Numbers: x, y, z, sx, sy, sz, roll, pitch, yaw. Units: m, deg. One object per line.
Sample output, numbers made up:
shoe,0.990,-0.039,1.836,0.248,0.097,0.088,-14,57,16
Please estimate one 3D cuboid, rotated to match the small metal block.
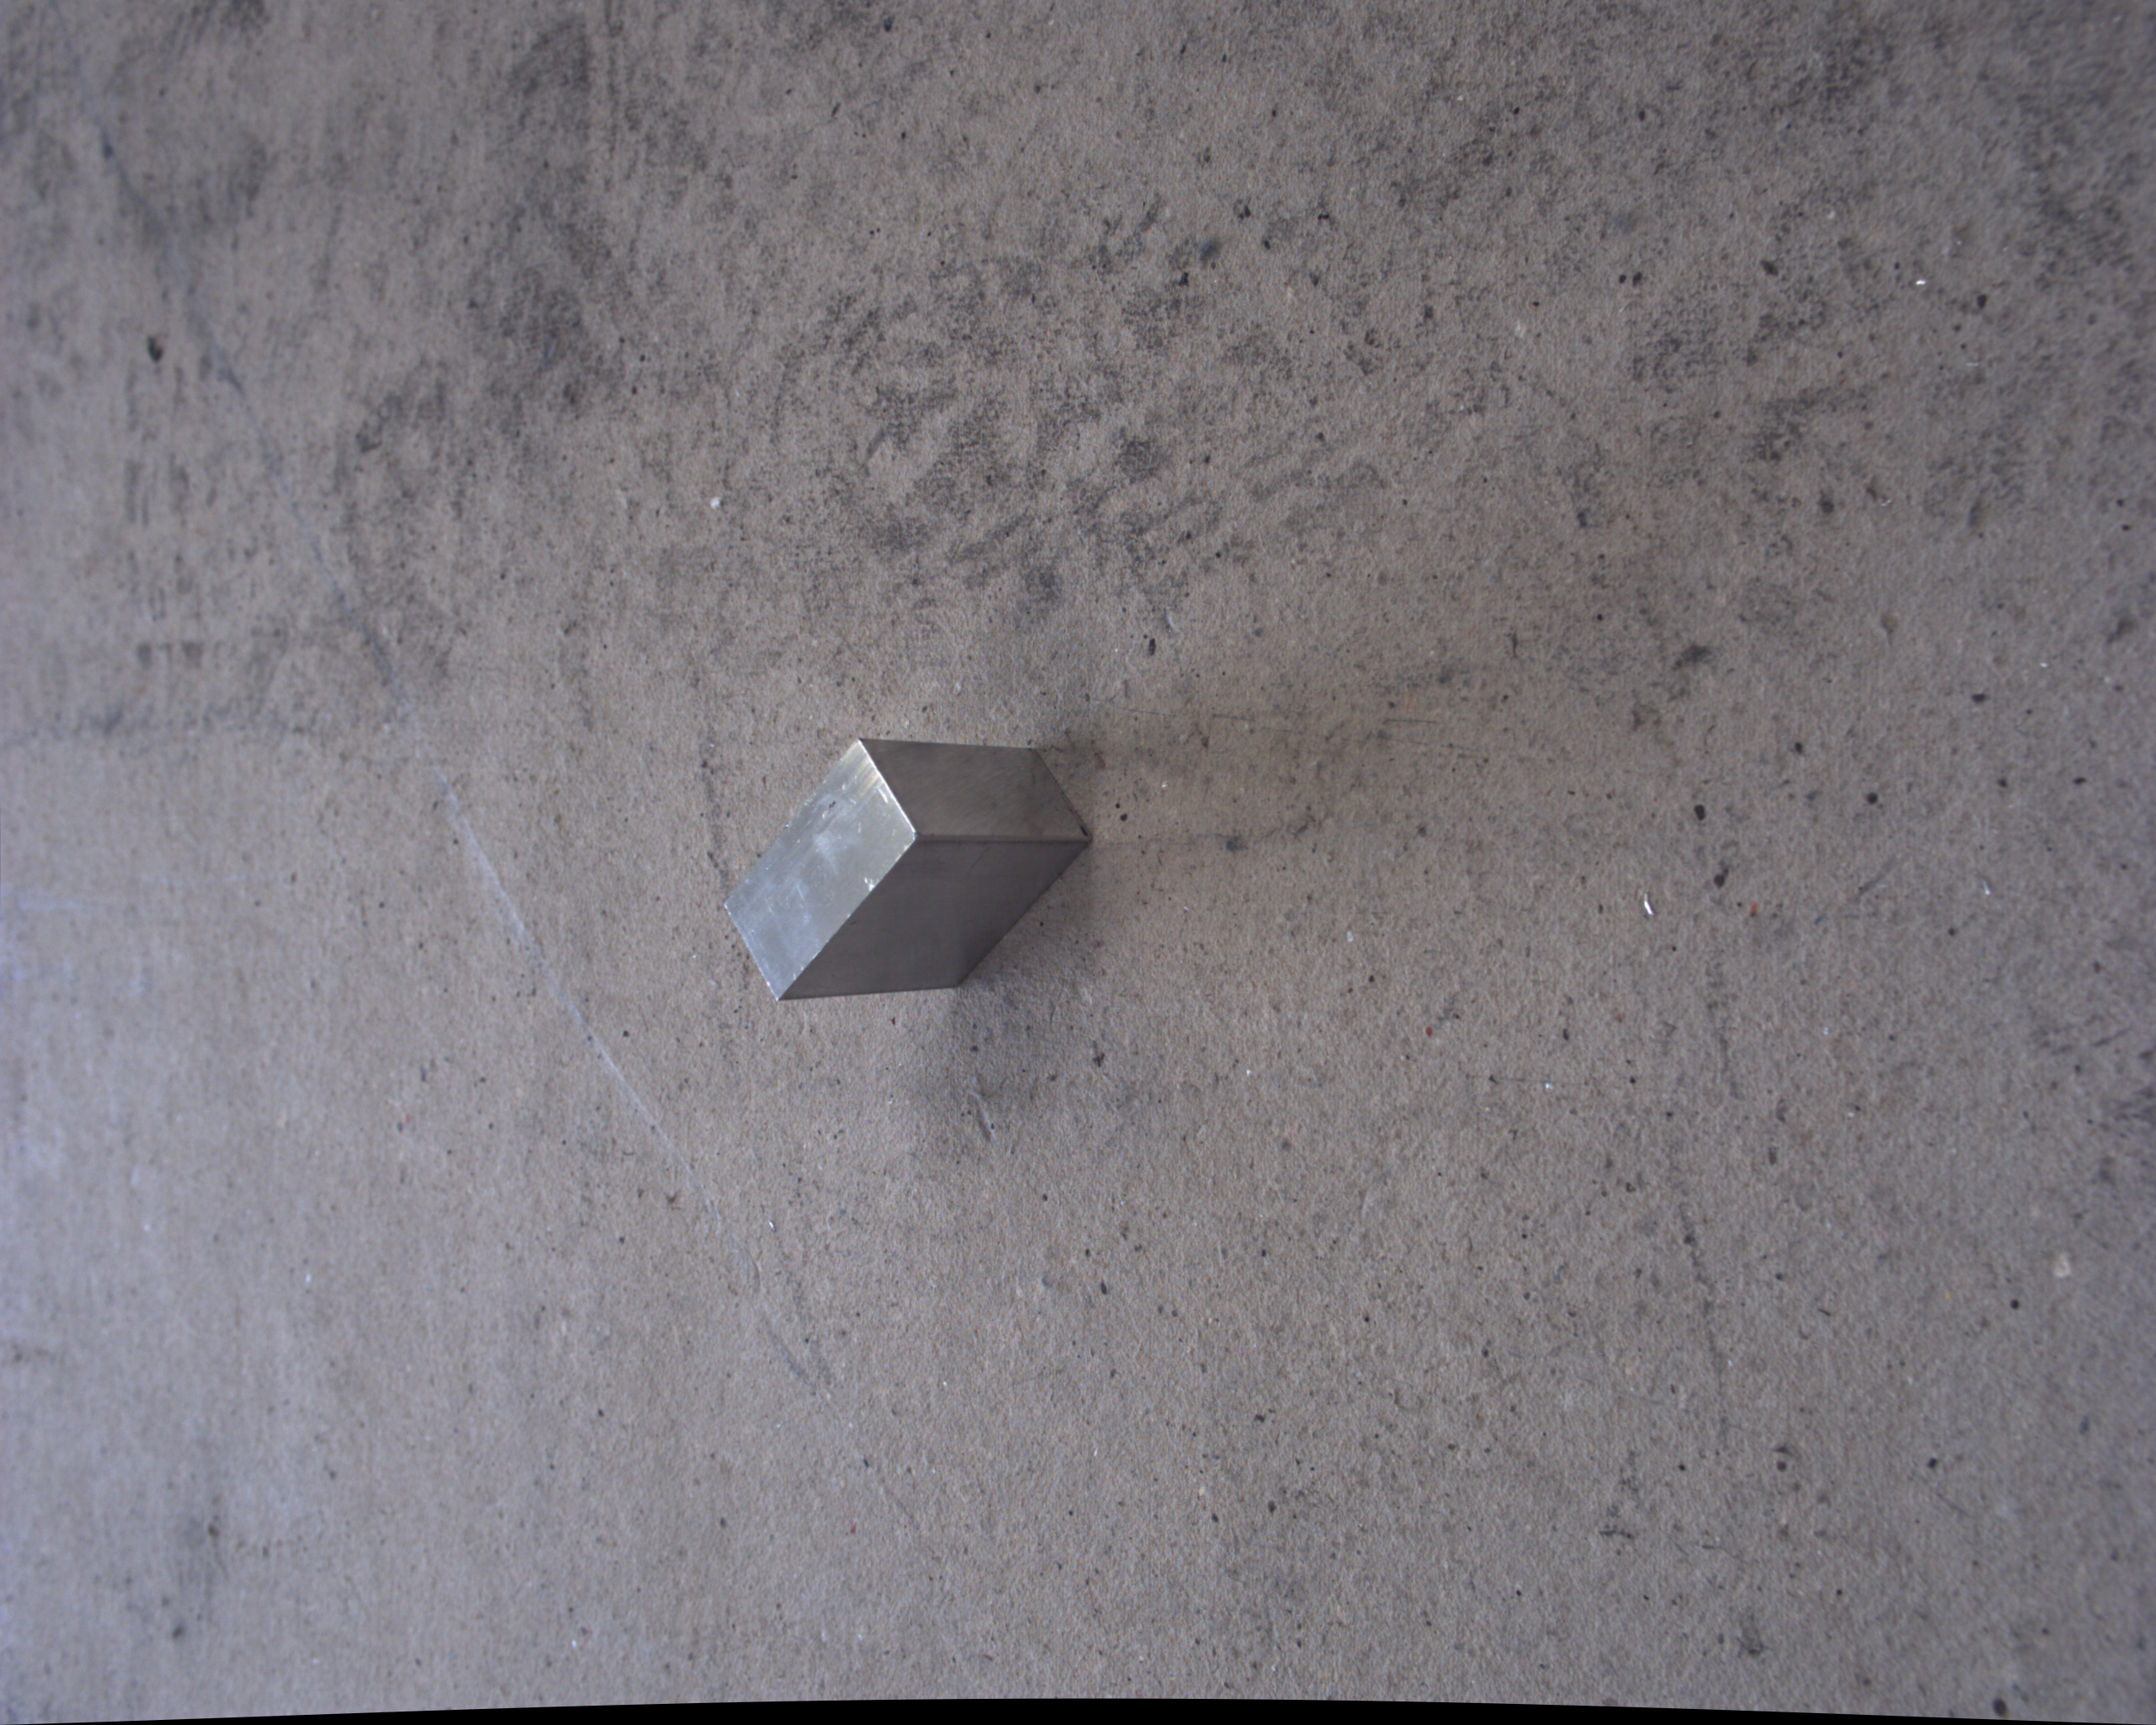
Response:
small metal block,-0.034,0.002,0.419,0.050,0.050,0.025,-47,62,29
